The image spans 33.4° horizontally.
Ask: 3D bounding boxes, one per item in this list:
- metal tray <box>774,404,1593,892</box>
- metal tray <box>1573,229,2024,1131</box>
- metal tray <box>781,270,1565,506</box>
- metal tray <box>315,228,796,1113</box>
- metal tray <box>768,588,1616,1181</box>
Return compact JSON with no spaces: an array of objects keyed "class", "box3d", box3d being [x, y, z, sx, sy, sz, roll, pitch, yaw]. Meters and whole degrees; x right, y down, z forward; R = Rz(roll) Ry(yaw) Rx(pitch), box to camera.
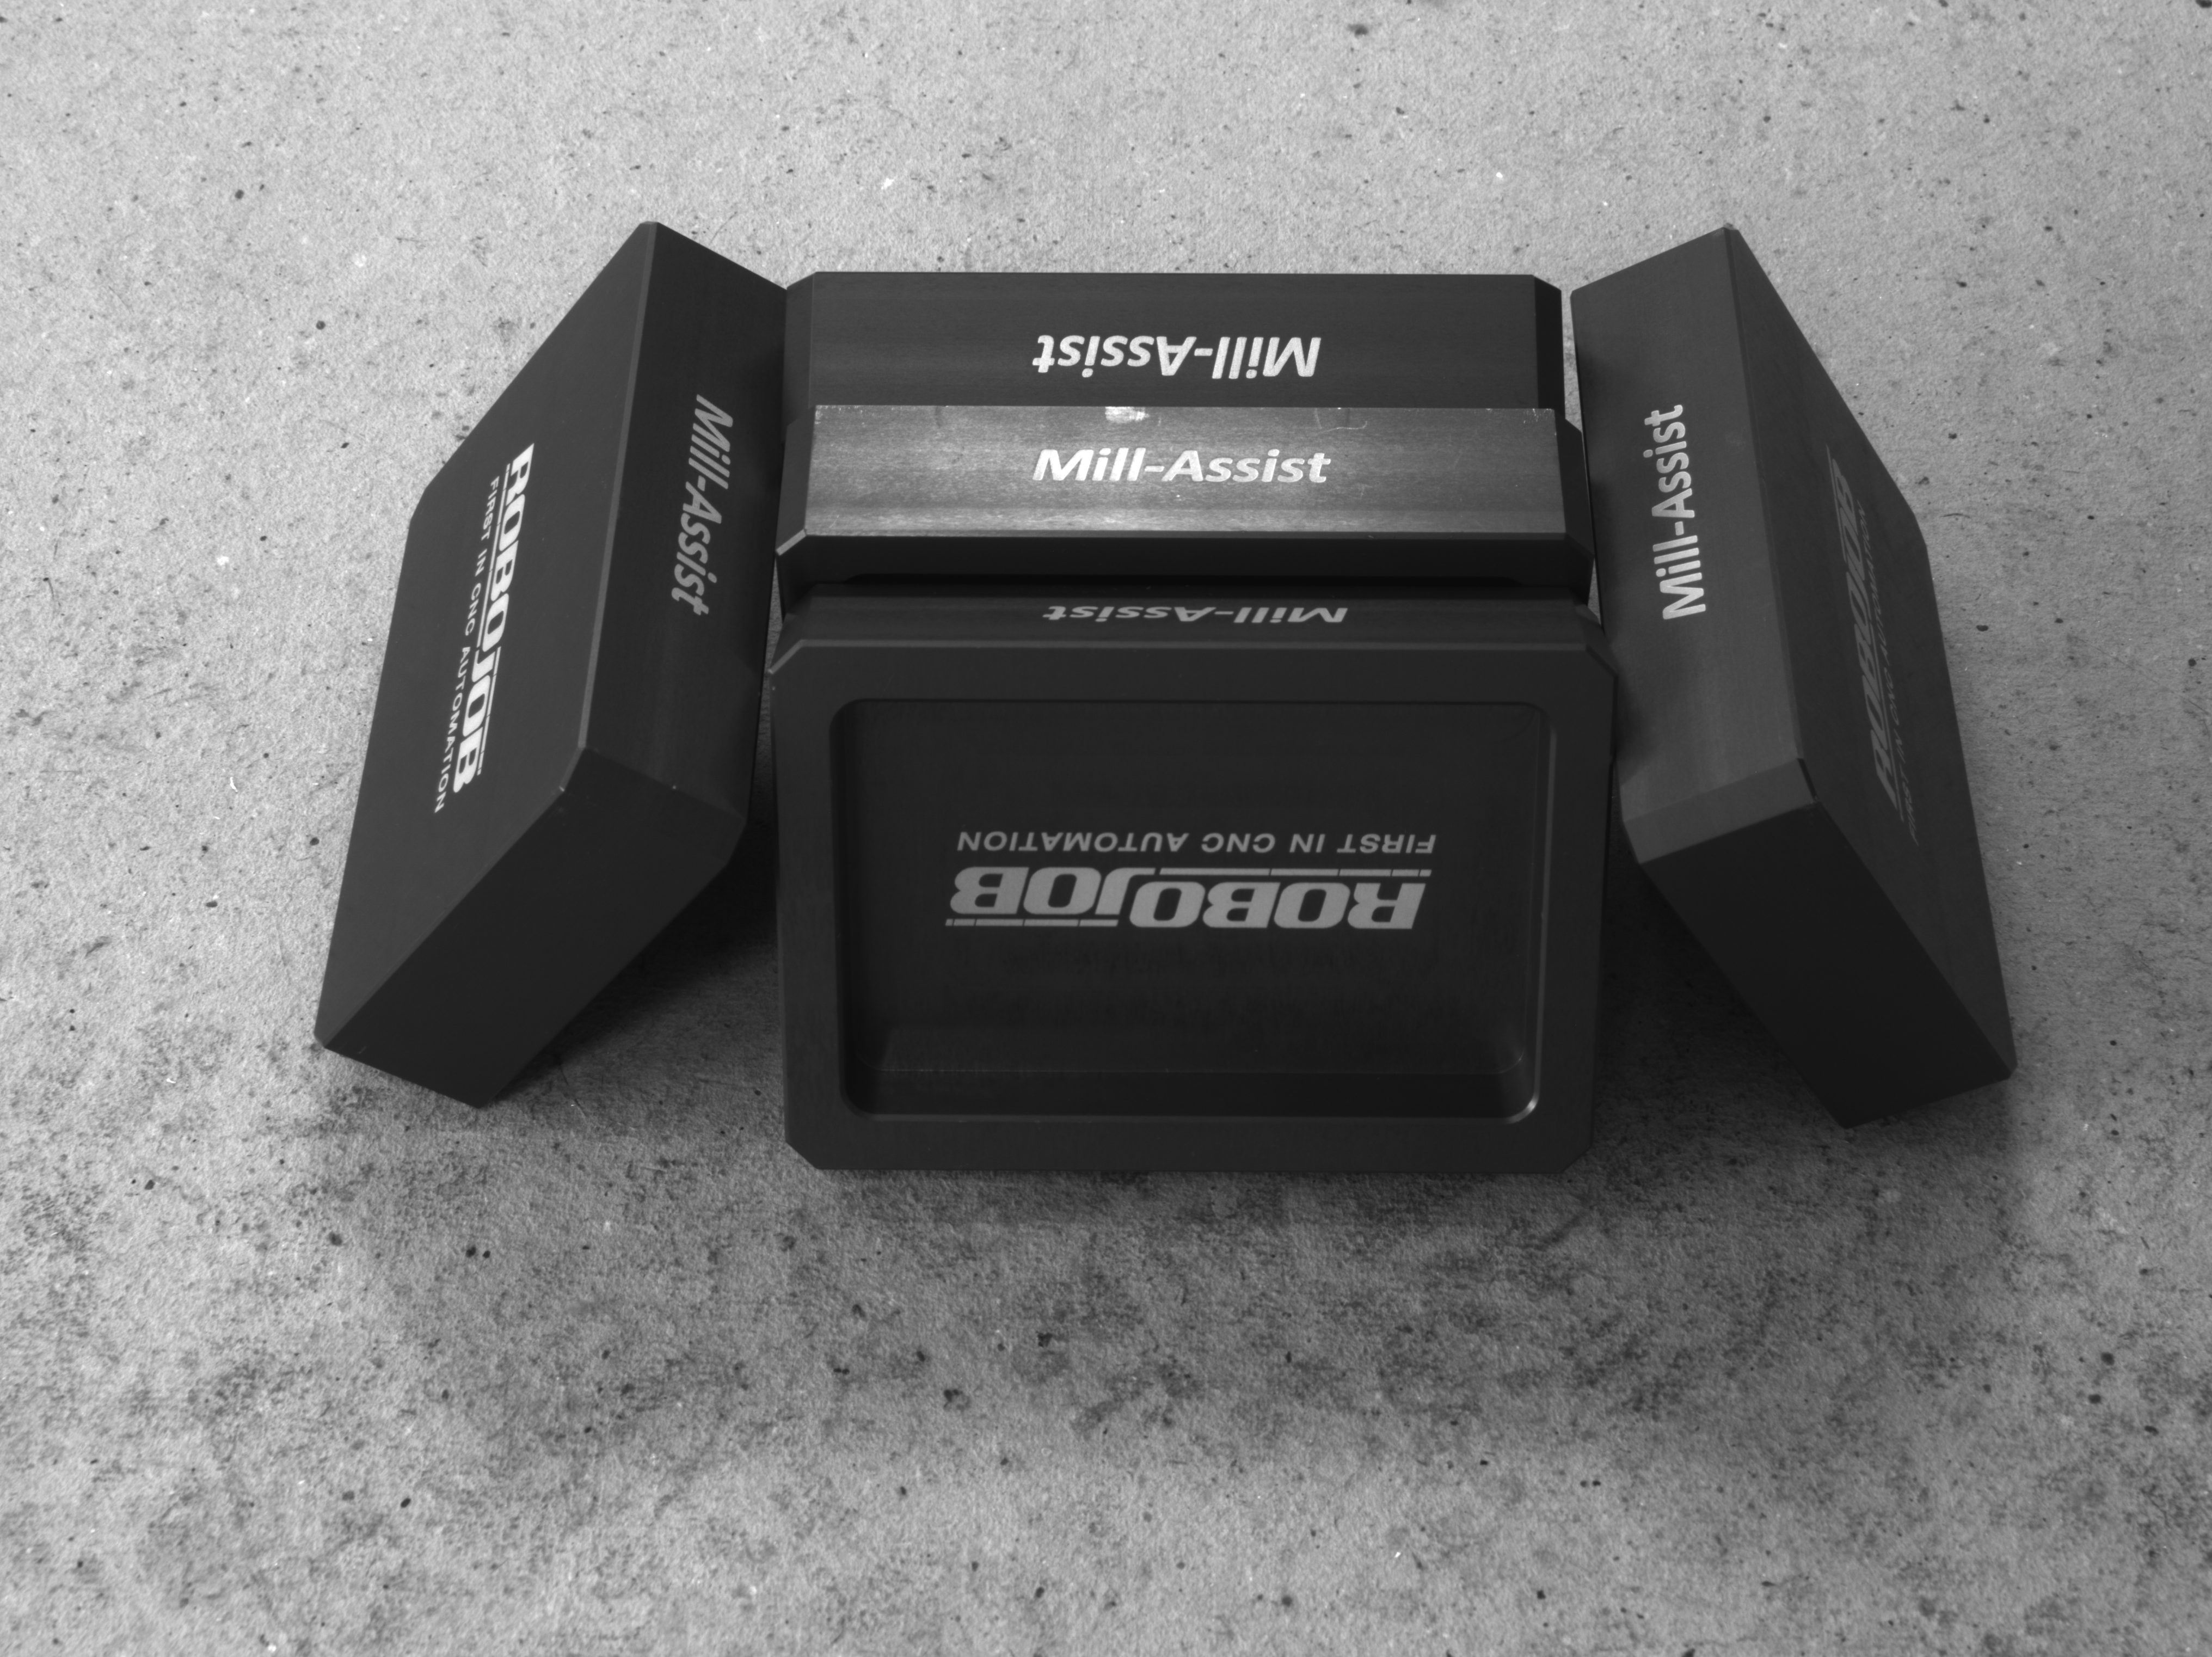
[{"class":"metal tray","box3d":[0.012,-0.029,0.624,0.130,0.090,0.030,0,50,0]},{"class":"metal tray","box3d":[0.116,-0.026,0.621,0.030,0.090,0.130,-21,45,24]},{"class":"metal tray","box3d":[0.012,-0.065,0.652,0.130,0.090,0.030,0,72,0]},{"class":"metal tray","box3d":[-0.092,-0.028,0.626,0.030,0.090,0.130,26,44,-26]},{"class":"metal tray","box3d":[0.013,0.009,0.592,0.130,0.090,0.030,0,21,1]}]
